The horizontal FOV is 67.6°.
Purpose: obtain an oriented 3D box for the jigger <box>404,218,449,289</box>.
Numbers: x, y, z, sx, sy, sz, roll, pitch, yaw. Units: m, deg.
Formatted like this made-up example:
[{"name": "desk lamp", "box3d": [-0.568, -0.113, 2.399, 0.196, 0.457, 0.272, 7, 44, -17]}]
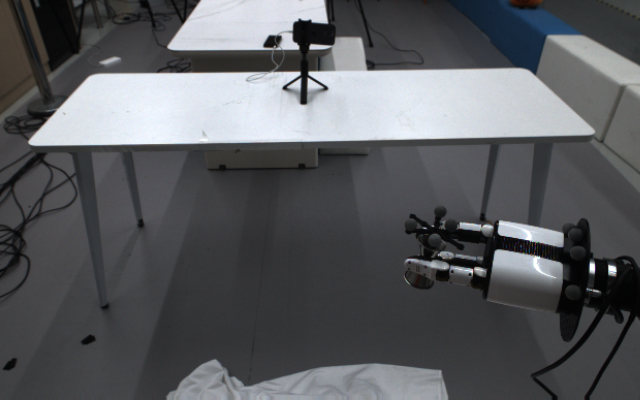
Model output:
[{"name": "jigger", "box3d": [0.147, 0.085, 0.681, 0.043, 0.071, 0.043, 9, 30, -5]}]
